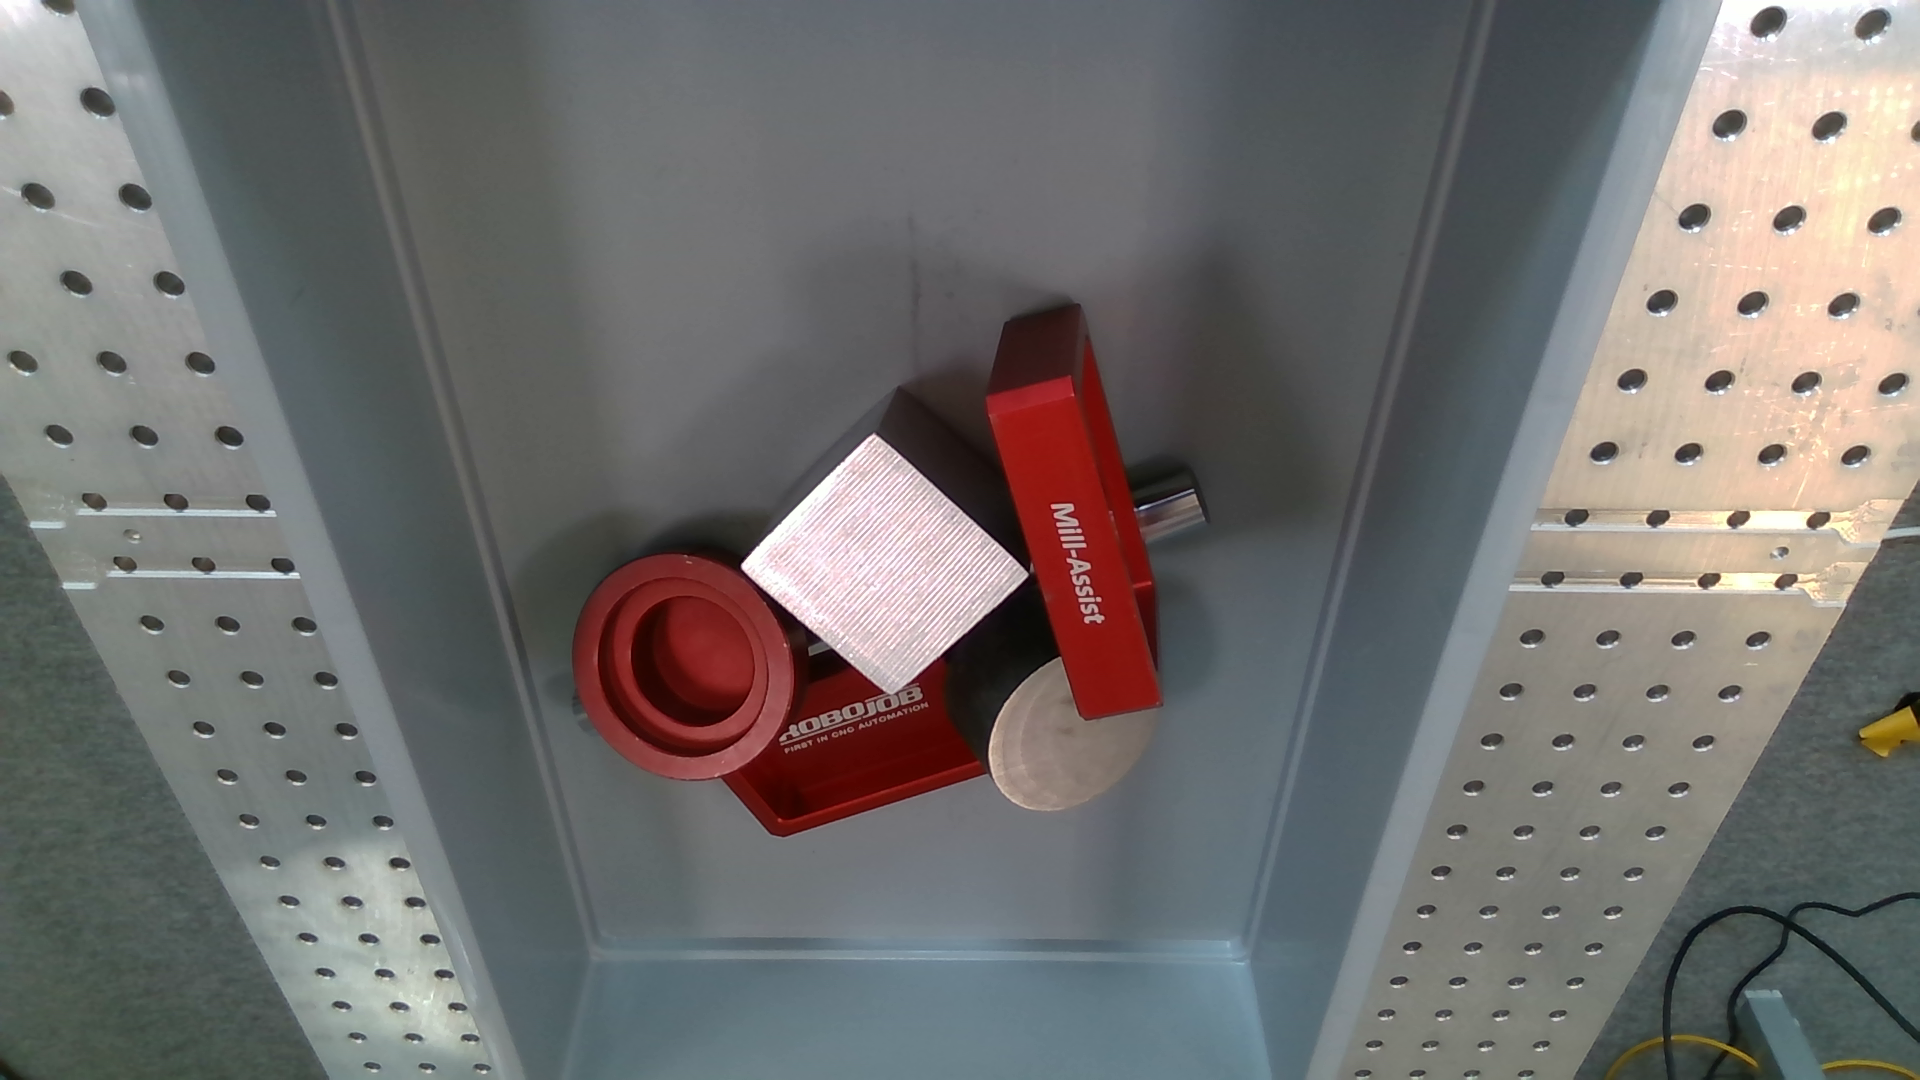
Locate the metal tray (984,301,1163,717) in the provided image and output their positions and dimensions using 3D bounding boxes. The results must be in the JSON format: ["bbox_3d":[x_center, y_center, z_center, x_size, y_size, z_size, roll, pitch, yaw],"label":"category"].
[{"bbox_3d":[0.045,-0.012,0.507,0.030,0.090,0.130,-13,115,13],"label":"metal tray"}]

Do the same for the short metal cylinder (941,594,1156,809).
[{"bbox_3d":[0.038,0.070,0.601,0.080,0.050,0.080,-11,120,-21],"label":"short metal cylinder"}]

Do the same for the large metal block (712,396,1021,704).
[{"bbox_3d":[-0.035,0.004,0.542,0.080,0.050,0.080,-34,104,26],"label":"large metal block"}]

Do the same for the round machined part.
[{"bbox_3d":[-0.111,0.049,0.590,0.098,0.042,0.098,2,101,13],"label":"round machined part"}]

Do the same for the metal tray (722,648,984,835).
[{"bbox_3d":[-0.052,0.086,0.647,0.130,0.030,0.090,-20,127,16],"label":"metal tray"}]

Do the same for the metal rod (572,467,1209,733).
[{"bbox_3d":[-0.038,0.030,0.603,0.300,0.025,0.025,-20,127,16],"label":"metal rod"}]
